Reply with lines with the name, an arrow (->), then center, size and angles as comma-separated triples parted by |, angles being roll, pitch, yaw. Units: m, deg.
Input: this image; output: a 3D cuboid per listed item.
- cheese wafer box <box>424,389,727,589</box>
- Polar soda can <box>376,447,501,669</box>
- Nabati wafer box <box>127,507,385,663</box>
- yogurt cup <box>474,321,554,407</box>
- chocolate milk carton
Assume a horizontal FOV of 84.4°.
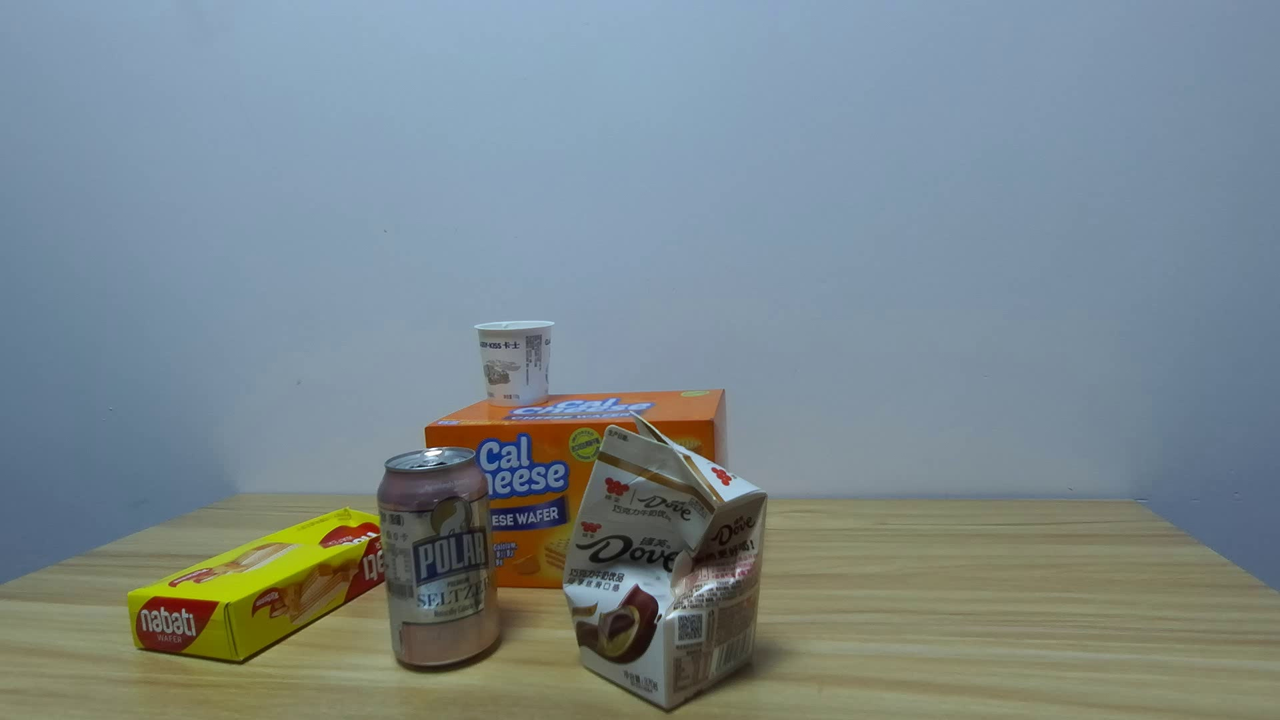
cheese wafer box -> -0.041, 0.101, 0.591 | 0.221, 0.129, 0.148 | -2, 6, 9
Polar soda can -> -0.126, 0.122, 0.442 | 0.067, 0.125, 0.067 | -4, 4, 1
Nabati wafer box -> -0.255, 0.159, 0.537 | 0.096, 0.042, 0.204 | -4, 4, 22
yogurt cup -> -0.108, 0.003, 0.622 | 0.072, 0.068, 0.072 | -1, 8, 0
chocolate milk carton -> 0.015, 0.108, 0.393 | 0.089, 0.155, 0.077 | 20, 25, 39
